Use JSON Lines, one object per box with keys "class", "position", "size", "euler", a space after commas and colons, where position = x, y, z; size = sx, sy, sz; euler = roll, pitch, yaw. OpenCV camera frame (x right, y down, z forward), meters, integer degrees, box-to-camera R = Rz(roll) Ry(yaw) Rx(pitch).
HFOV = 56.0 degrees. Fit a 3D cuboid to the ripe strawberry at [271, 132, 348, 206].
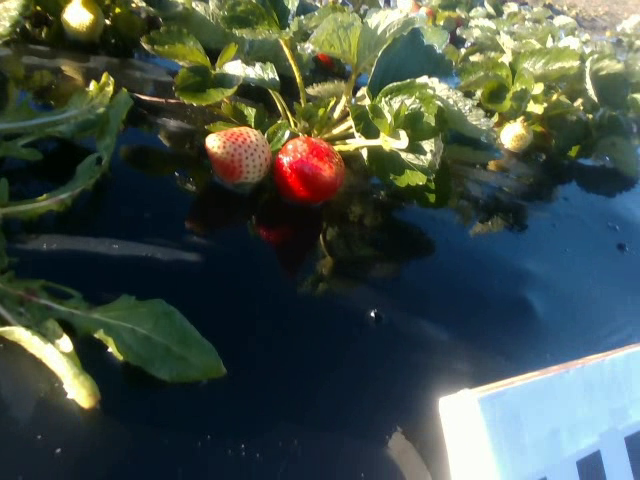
{"class": "ripe strawberry", "position": [0.000, -0.036, 0.290], "size": [0.040, 0.038, 0.055], "euler": [-24, 2, -13]}
